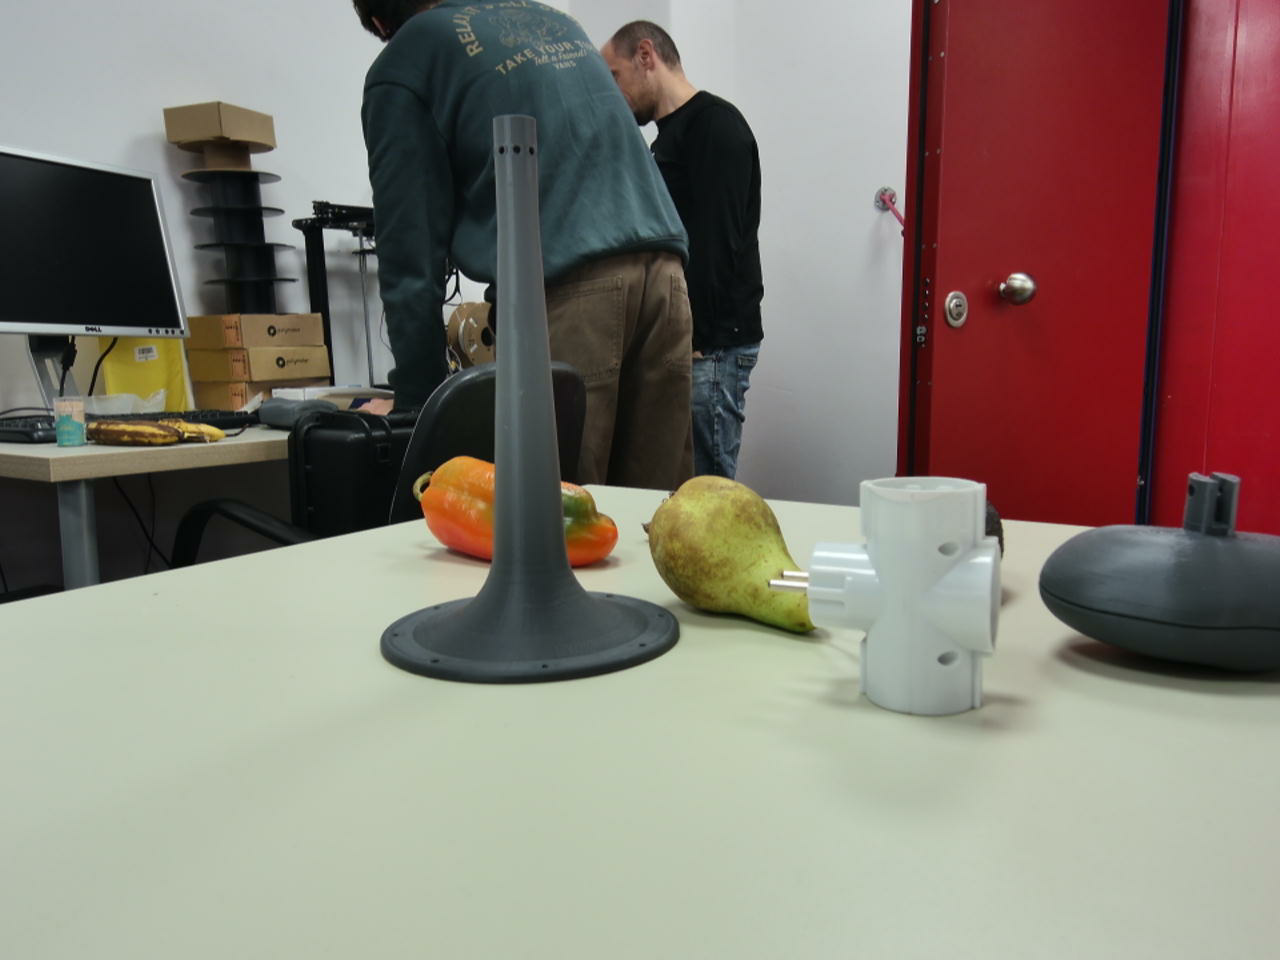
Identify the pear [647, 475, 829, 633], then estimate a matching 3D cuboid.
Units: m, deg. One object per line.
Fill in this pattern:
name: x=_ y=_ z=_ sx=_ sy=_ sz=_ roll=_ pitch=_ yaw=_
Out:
pear: x=0.066 y=0.039 z=0.539 sx=0.144 sy=0.075 sz=0.071 roll=8 pitch=9 yaw=43
